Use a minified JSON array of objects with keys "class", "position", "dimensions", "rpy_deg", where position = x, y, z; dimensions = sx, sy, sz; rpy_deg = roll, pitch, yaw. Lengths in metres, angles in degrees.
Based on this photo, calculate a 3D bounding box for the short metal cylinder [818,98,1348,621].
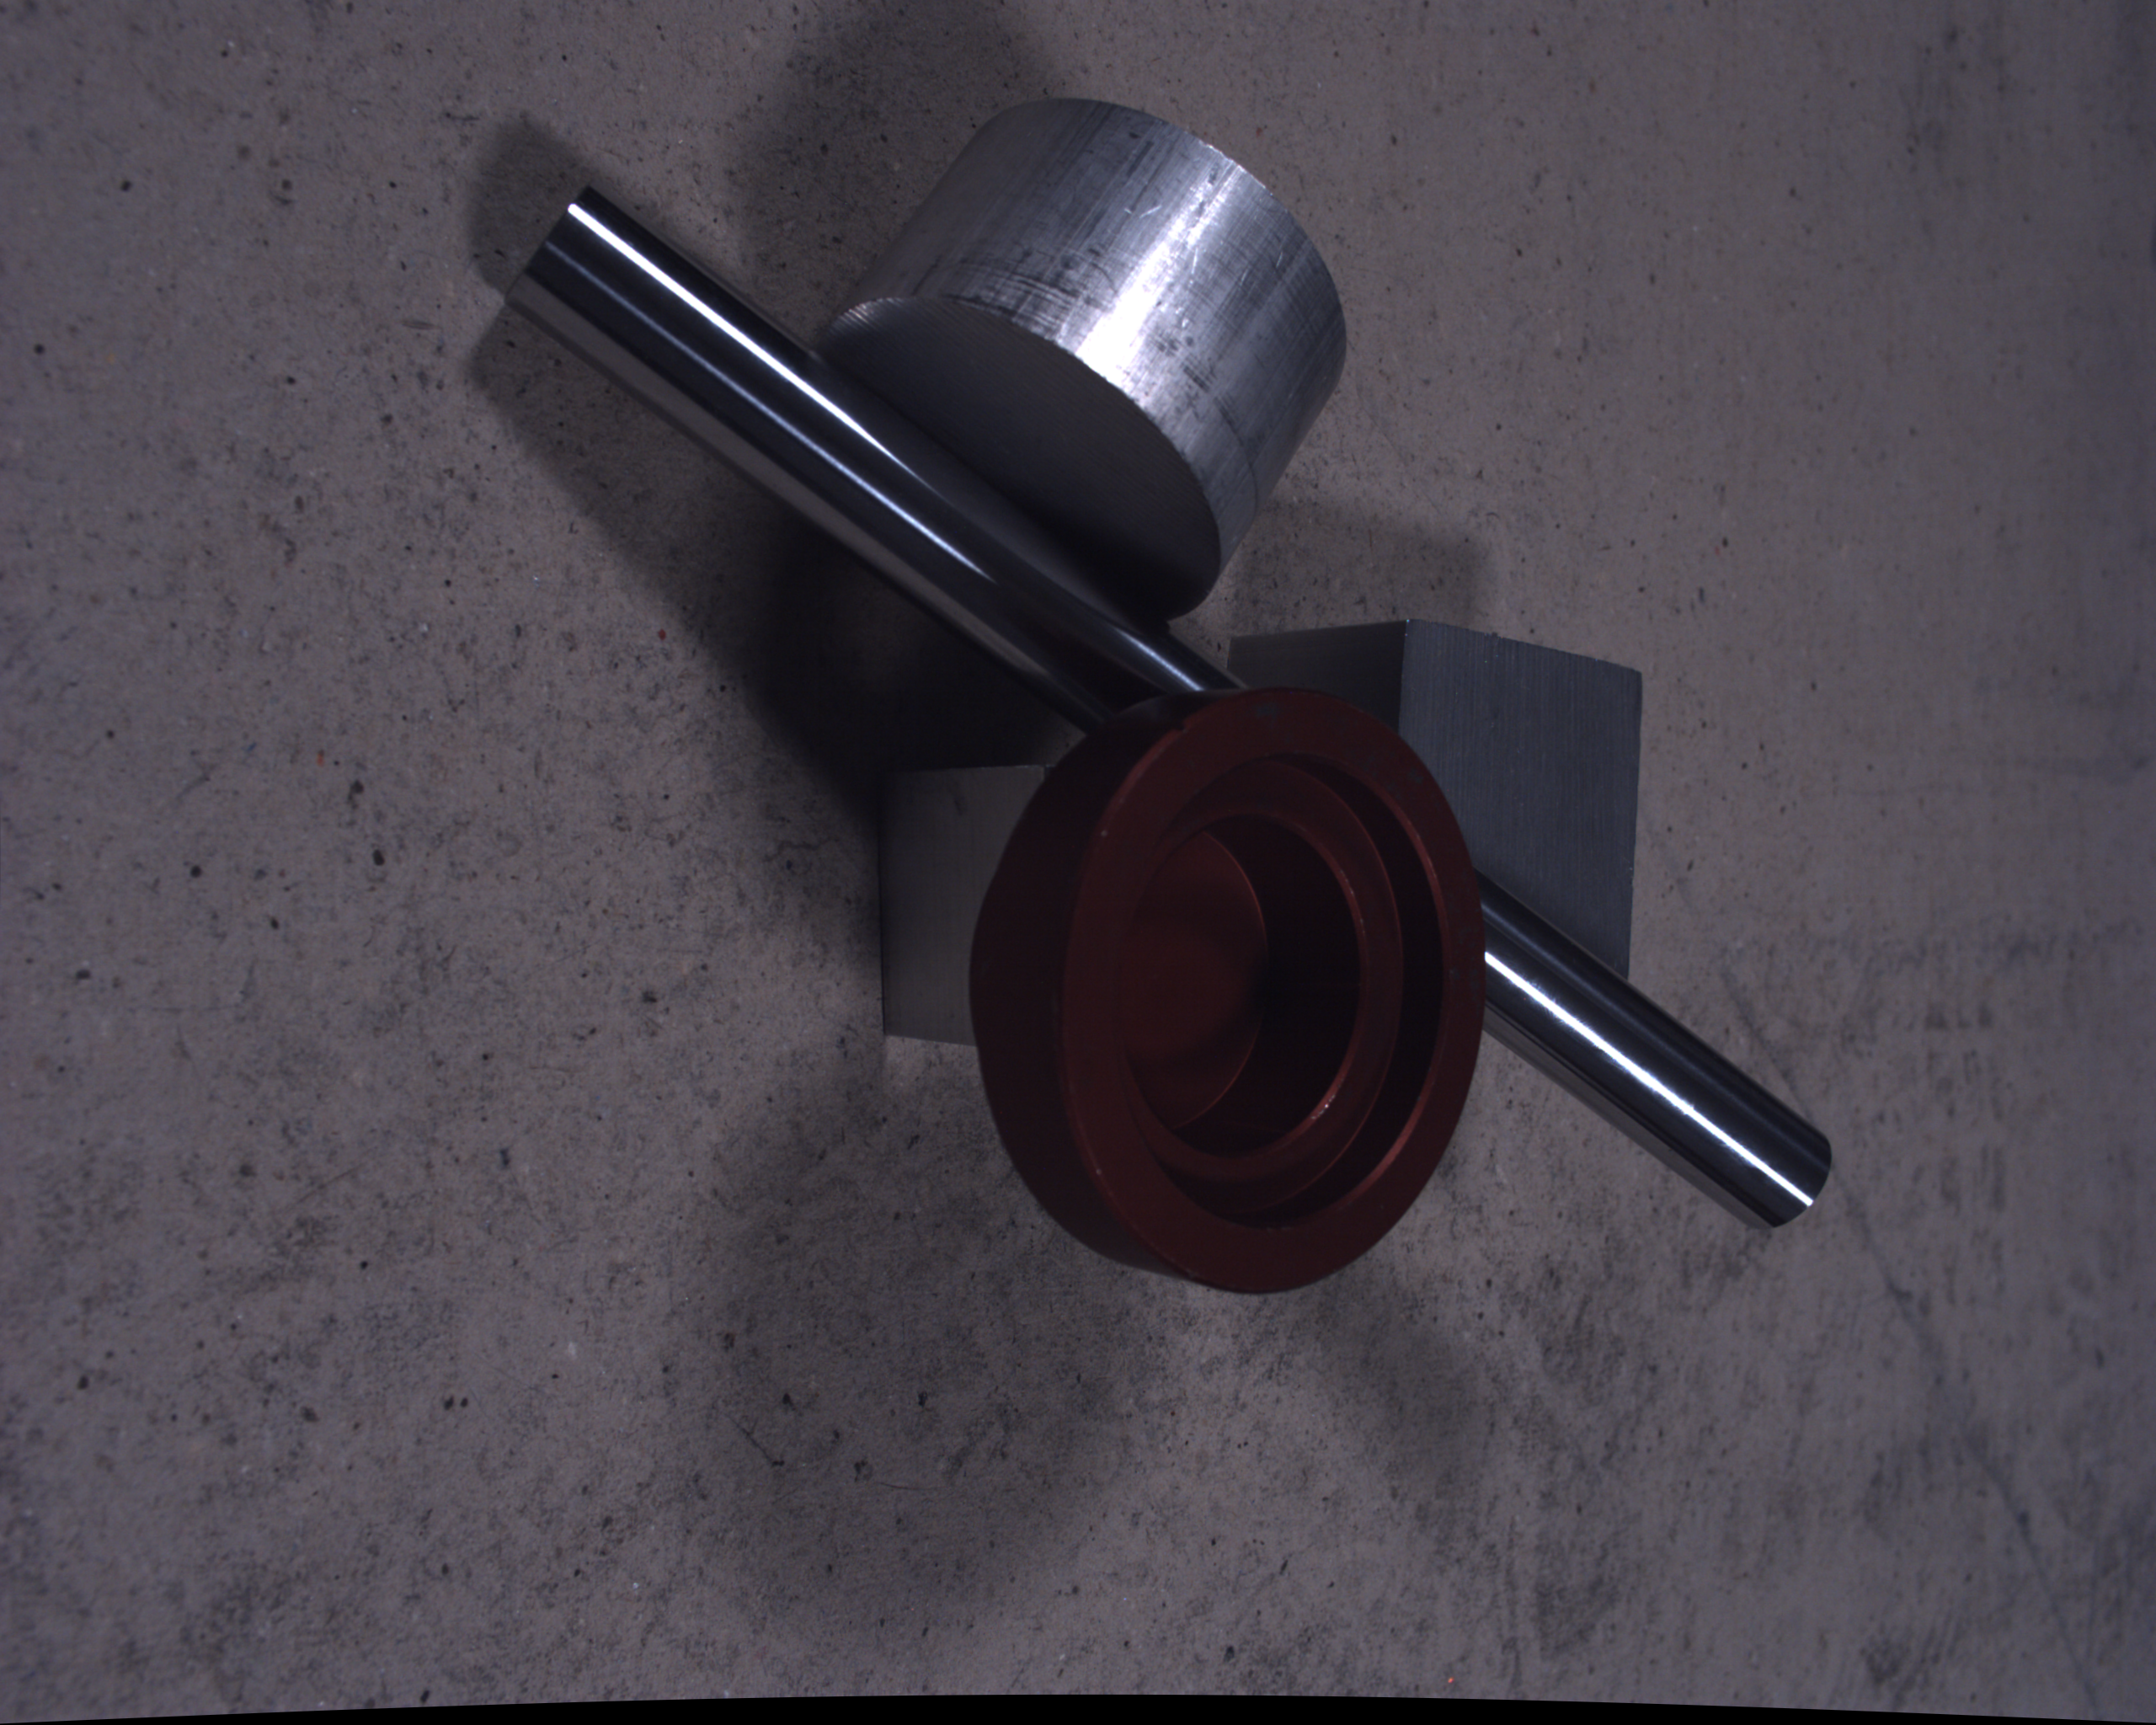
[{"class":"short metal cylinder","position":[0.001,-0.087,0.373],"dimensions":[0.080,0.080,0.050],"rpy_deg":[45,63,-31]}]

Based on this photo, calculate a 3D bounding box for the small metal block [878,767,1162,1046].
[{"class":"small metal block","position":[-0.011,0.008,0.383],"dimensions":[0.025,0.050,0.050],"rpy_deg":[-3,92,-40]}]

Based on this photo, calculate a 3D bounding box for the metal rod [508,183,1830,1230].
[{"class":"metal rod","position":[0.031,-0.017,0.386],"dimensions":[0.301,0.025,0.025],"rpy_deg":[36,67,-19]}]

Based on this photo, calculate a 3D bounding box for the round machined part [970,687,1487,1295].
[{"class":"round machined part","position":[0.021,0.020,0.351],"dimensions":[0.099,0.042,0.097],"rpy_deg":[-2,93,-40]}]

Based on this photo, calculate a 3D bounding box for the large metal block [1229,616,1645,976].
[{"class":"large metal block","position":[0.077,-0.007,0.458],"dimensions":[0.081,0.050,0.080],"rpy_deg":[6,86,-40]}]
